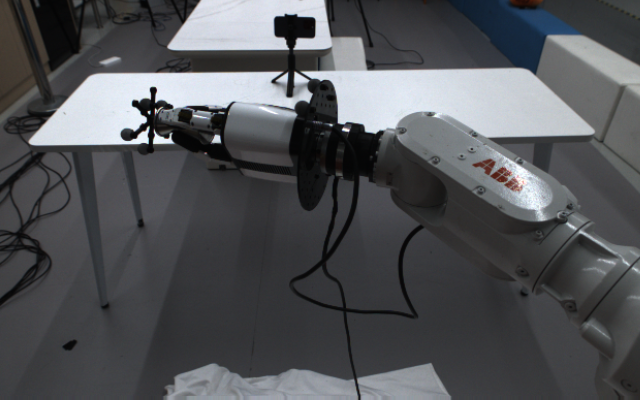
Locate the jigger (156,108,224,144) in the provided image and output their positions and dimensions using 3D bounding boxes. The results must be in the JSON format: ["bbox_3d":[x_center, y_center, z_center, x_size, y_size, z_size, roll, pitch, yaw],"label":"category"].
[{"bbox_3d":[-0.172,-0.103,0.635,0.071,0.043,0.043,9,35,16],"label":"jigger"}]
